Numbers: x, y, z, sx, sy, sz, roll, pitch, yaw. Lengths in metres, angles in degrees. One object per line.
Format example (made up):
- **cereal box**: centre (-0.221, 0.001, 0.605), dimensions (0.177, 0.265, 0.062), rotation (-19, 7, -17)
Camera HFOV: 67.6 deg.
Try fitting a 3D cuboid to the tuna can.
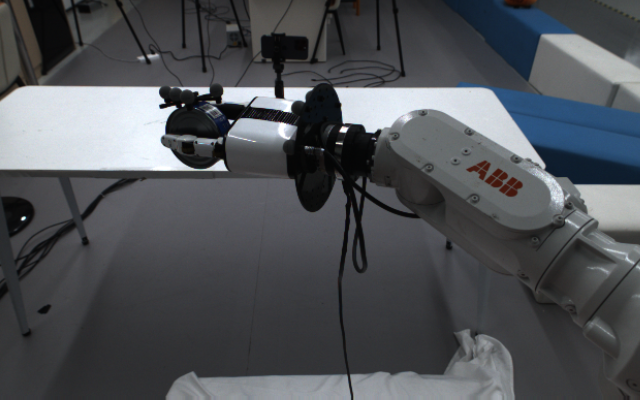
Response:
- **tuna can**: centre (-0.160, -0.087, 0.648), dimensions (0.085, 0.085, 0.034), rotation (14, 29, 17)
